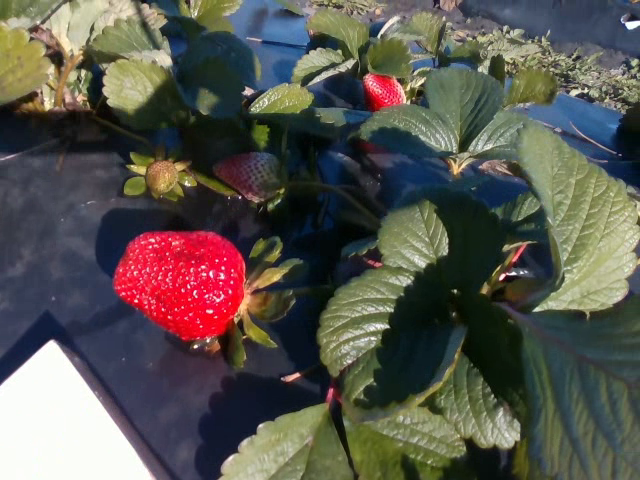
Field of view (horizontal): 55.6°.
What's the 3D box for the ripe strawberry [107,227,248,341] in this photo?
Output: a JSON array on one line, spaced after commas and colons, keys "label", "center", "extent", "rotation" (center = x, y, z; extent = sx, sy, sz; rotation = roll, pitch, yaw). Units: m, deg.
[{"label": "ripe strawberry", "center": [-0.059, 0.017, 0.248], "extent": [0.058, 0.066, 0.061], "rotation": [-23, -34, 34]}]
